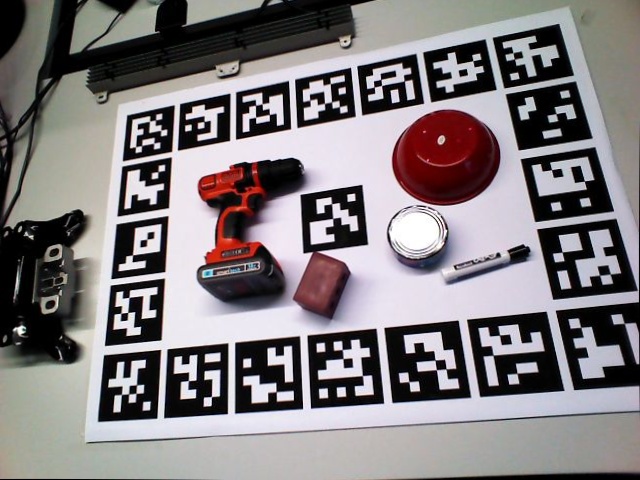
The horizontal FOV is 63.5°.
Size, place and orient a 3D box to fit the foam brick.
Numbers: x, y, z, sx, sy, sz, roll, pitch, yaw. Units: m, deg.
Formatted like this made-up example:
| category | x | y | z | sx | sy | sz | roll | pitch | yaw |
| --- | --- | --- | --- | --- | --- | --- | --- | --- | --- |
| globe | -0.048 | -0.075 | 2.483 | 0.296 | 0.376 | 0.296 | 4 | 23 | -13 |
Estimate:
| category | x | y | z | sx | sy | sz | roll | pitch | yaw |
| --- | --- | --- | --- | --- | --- | --- | --- | --- | --- |
| foam brick | 0.009 | 0.067 | 0.742 | 0.051 | 0.053 | 0.078 | 16 | 76 | 19 |

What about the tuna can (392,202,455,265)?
| category | x | y | z | sx | sy | sz | roll | pitch | yaw |
| --- | --- | --- | --- | --- | --- | --- | --- | --- | --- |
| tuna can | 0.146 | -0.009 | 0.734 | 0.086 | 0.034 | 0.085 | -5 | 69 | 12 |

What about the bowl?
| category | x | y | z | sx | sy | sz | roll | pitch | yaw |
| --- | --- | --- | --- | --- | --- | --- | --- | --- | --- |
| bowl | 0.188 | -0.136 | 0.770 | 0.162 | 0.055 | 0.161 | -9 | 61 | 16 |

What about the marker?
| category | x | y | z | sx | sy | sz | roll | pitch | yaw |
| --- | --- | --- | --- | --- | --- | --- | --- | --- | --- |
| marker | 0.234 | 0.029 | 0.702 | 0.121 | 0.019 | 0.019 | -17 | 68 | 9 |

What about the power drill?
| category | x | y | z | sx | sy | sz | roll | pitch | yaw |
| --- | --- | --- | --- | --- | --- | --- | --- | --- | --- |
| power drill | -0.110 | -0.022 | 0.804 | 0.185 | 0.057 | 0.186 | -8 | 66 | 9 |
